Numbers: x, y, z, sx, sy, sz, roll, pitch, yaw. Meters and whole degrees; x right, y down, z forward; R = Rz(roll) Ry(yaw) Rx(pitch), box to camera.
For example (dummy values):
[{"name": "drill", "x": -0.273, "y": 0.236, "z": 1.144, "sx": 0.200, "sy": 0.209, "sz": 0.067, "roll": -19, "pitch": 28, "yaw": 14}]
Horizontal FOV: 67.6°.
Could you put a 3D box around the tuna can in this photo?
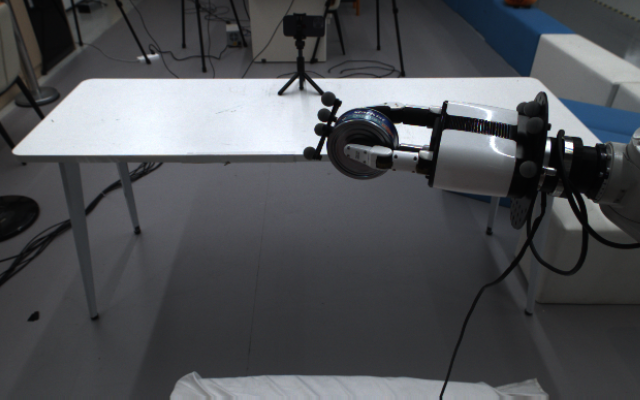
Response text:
[{"name": "tuna can", "x": 0.054, "y": -0.070, "z": 0.600, "sx": 0.085, "sy": 0.085, "sz": 0.034, "roll": 9, "pitch": 35, "yaw": 10}]
